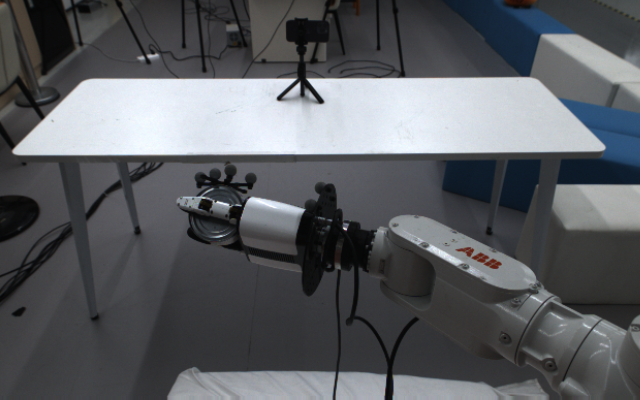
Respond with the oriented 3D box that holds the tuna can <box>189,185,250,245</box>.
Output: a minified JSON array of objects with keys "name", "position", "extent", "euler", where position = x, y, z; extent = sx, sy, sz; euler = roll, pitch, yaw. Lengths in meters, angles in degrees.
[{"name":"tuna can","position":[-0.146,0.024,0.711],"extent":[0.085,0.034,0.085],"euler":[-3,73,9]}]
